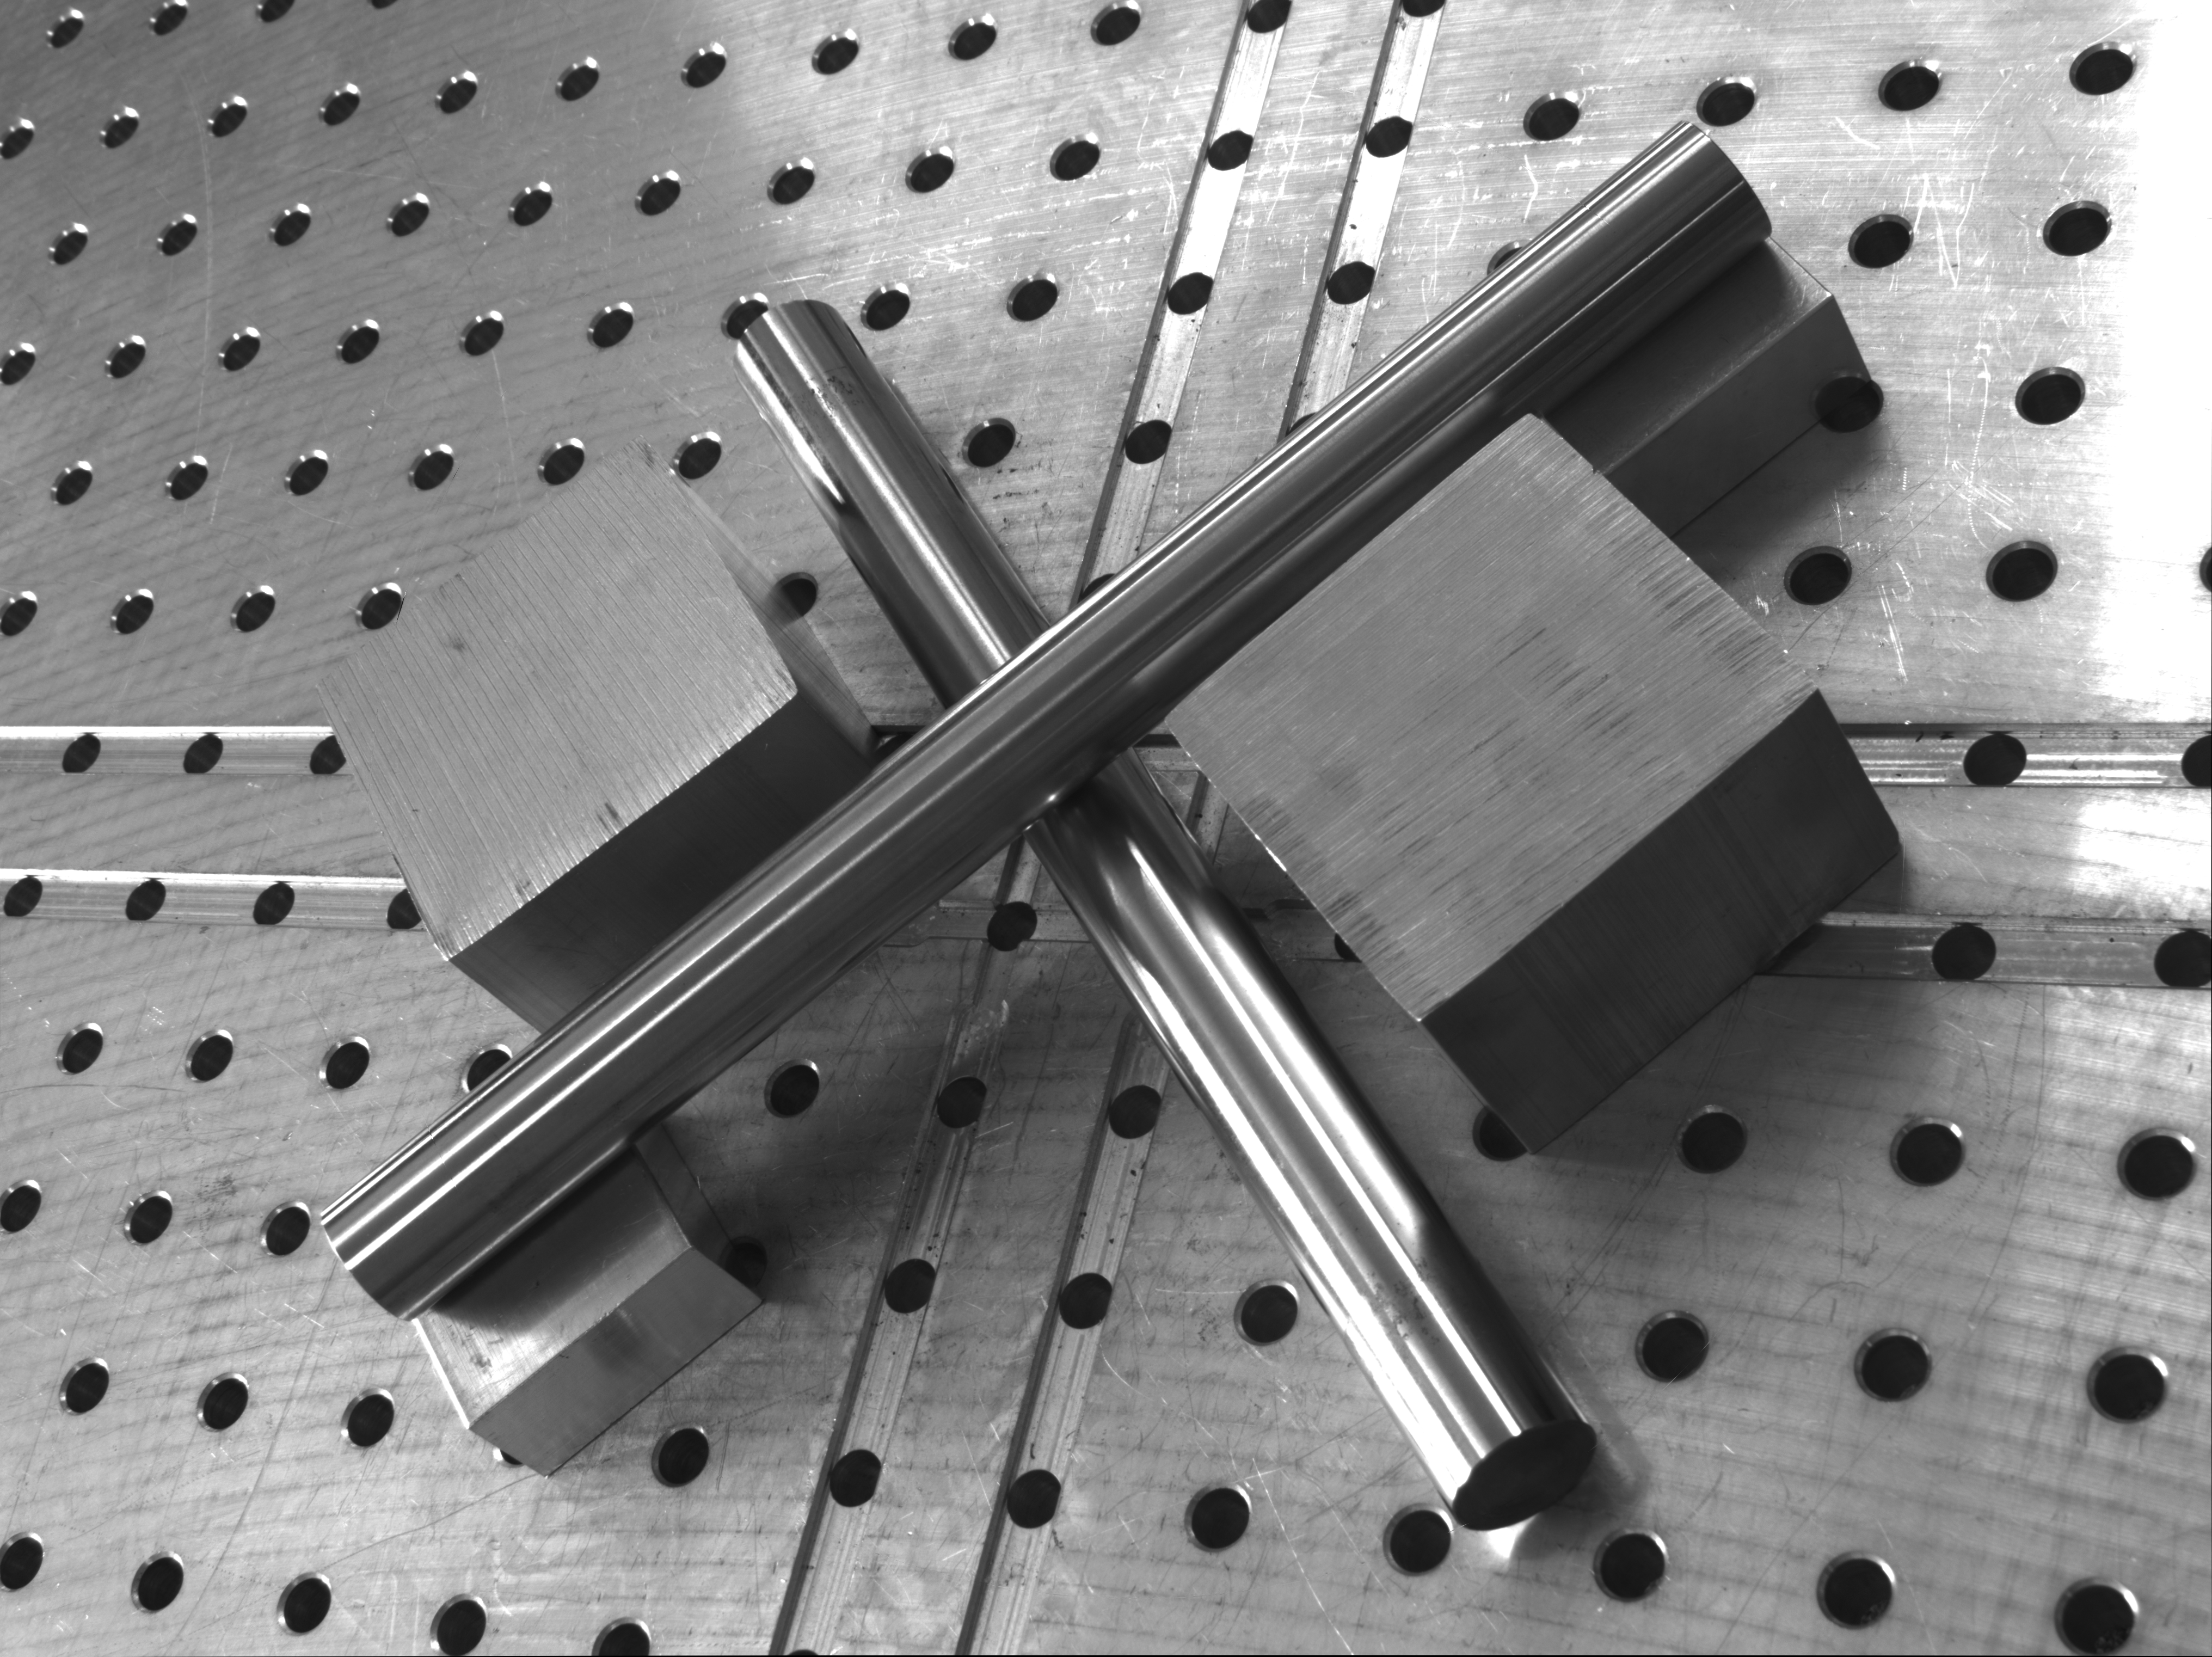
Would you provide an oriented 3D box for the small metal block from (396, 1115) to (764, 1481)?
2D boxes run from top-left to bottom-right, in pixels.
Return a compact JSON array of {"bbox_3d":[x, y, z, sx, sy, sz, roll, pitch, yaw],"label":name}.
[{"bbox_3d":[-0.097,0.078,0.652,0.050,0.025,0.050,-39,51,2],"label":"small metal block"}]

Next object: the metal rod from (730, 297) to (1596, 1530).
[{"bbox_3d":[-0.001,0.000,0.647,0.025,0.025,0.299,-36,51,4],"label":"metal rod"}]

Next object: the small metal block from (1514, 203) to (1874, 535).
[{"bbox_3d":[0.098,-0.084,0.648,0.050,0.025,0.050,-38,51,3],"label":"small metal block"}]

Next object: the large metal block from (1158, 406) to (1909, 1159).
[{"bbox_3d":[0.069,-0.008,0.599,0.080,0.050,0.080,-40,51,1],"label":"large metal block"}]

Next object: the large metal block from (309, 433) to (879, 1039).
[{"bbox_3d":[-0.092,-0.013,0.690,0.080,0.050,0.080,-37,51,3],"label":"large metal block"}]

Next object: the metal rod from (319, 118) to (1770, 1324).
[{"bbox_3d":[-0.011,-0.018,0.632,0.300,0.025,0.025,-39,51,2],"label":"metal rod"}]
